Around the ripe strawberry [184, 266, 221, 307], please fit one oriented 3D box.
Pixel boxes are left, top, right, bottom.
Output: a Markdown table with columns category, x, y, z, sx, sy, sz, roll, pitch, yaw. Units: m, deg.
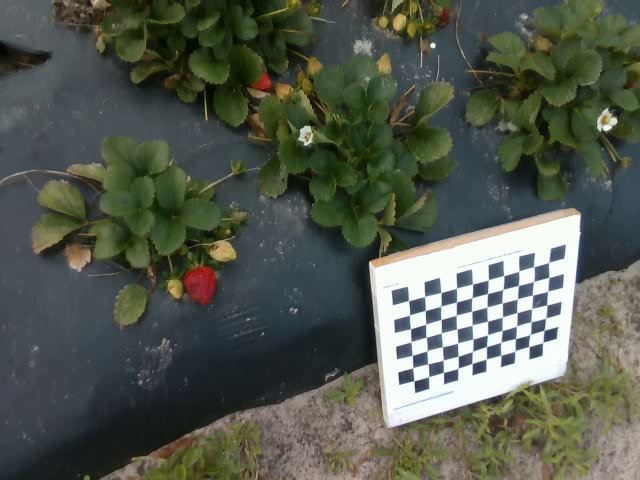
| category | x | y | z | sx | sy | sz | roll | pitch | yaw |
| --- | --- | --- | --- | --- | --- | --- | --- | --- | --- |
| ripe strawberry | -0.151 | 0.063 | 0.862 | 0.046 | 0.059 | 0.045 | -18 | -38 | -7 |
